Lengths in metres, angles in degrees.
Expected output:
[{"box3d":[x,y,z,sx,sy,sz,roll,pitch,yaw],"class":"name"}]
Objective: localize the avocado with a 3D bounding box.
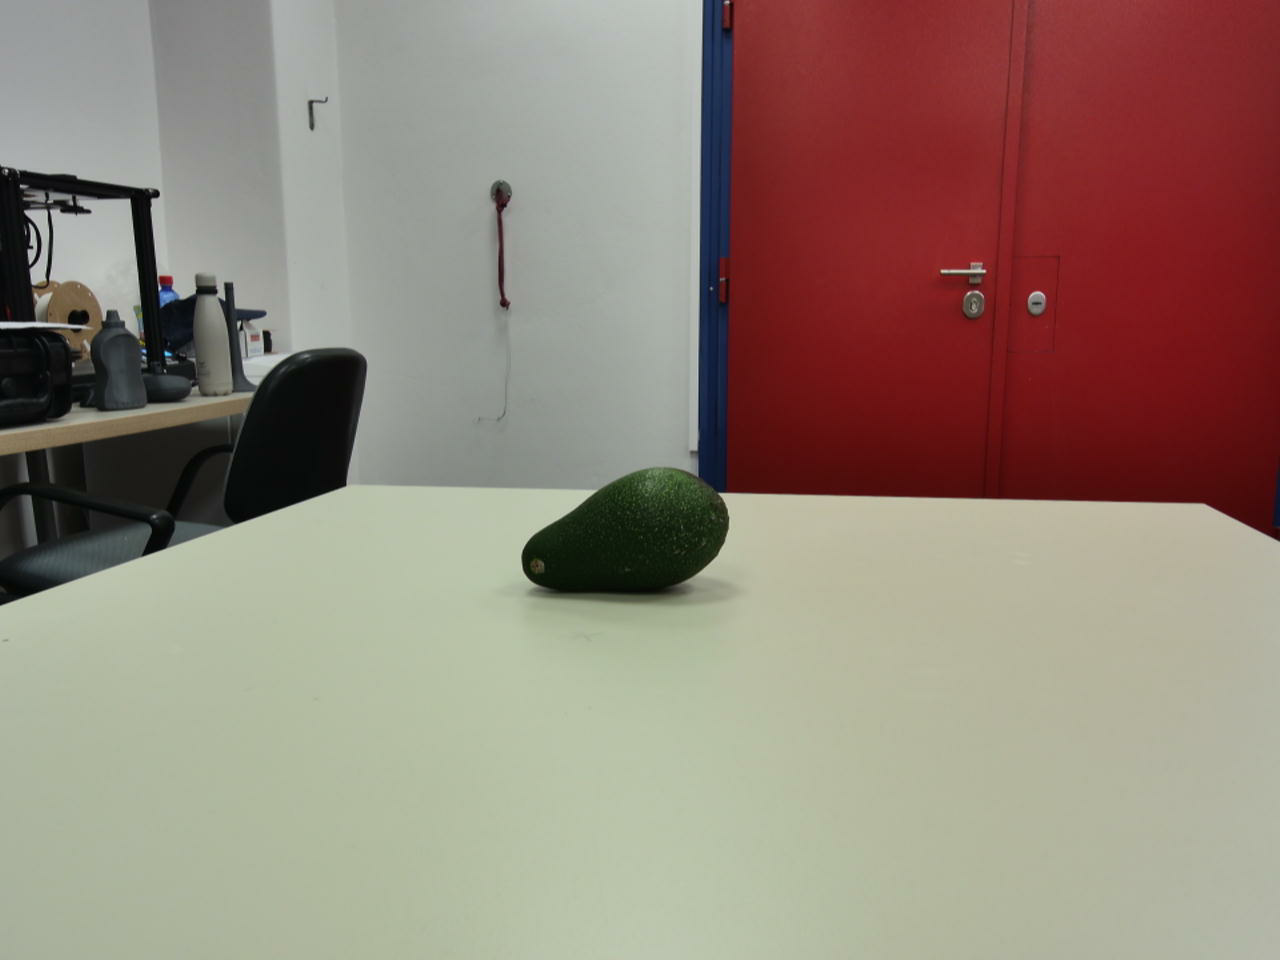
[{"box3d":[-0.006,0.029,0.615,0.123,0.076,0.074,2,8,17],"class":"avocado"}]
